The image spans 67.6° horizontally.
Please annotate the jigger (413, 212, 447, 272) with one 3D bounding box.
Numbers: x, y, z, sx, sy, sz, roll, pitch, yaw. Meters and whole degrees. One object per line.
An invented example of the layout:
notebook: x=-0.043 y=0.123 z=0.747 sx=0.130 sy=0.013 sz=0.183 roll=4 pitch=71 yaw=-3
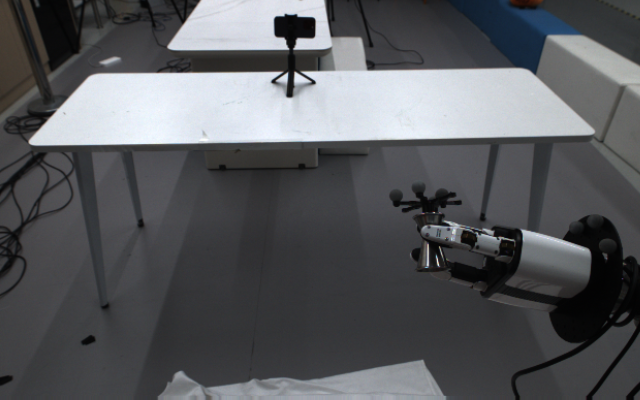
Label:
jigger: x=0.138 y=0.051 z=0.598 sx=0.043 sy=0.043 sz=0.071 roll=0 pitch=75 yaw=-3
